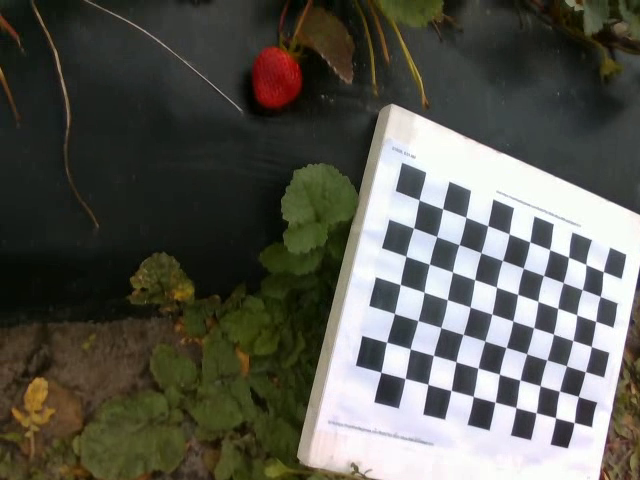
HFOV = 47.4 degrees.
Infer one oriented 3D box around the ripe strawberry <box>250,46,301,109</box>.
[{"bbox_3d":[-0.020,-0.075,0.353,0.029,0.032,0.023,33,-17,-16],"label":"ripe strawberry"}]
